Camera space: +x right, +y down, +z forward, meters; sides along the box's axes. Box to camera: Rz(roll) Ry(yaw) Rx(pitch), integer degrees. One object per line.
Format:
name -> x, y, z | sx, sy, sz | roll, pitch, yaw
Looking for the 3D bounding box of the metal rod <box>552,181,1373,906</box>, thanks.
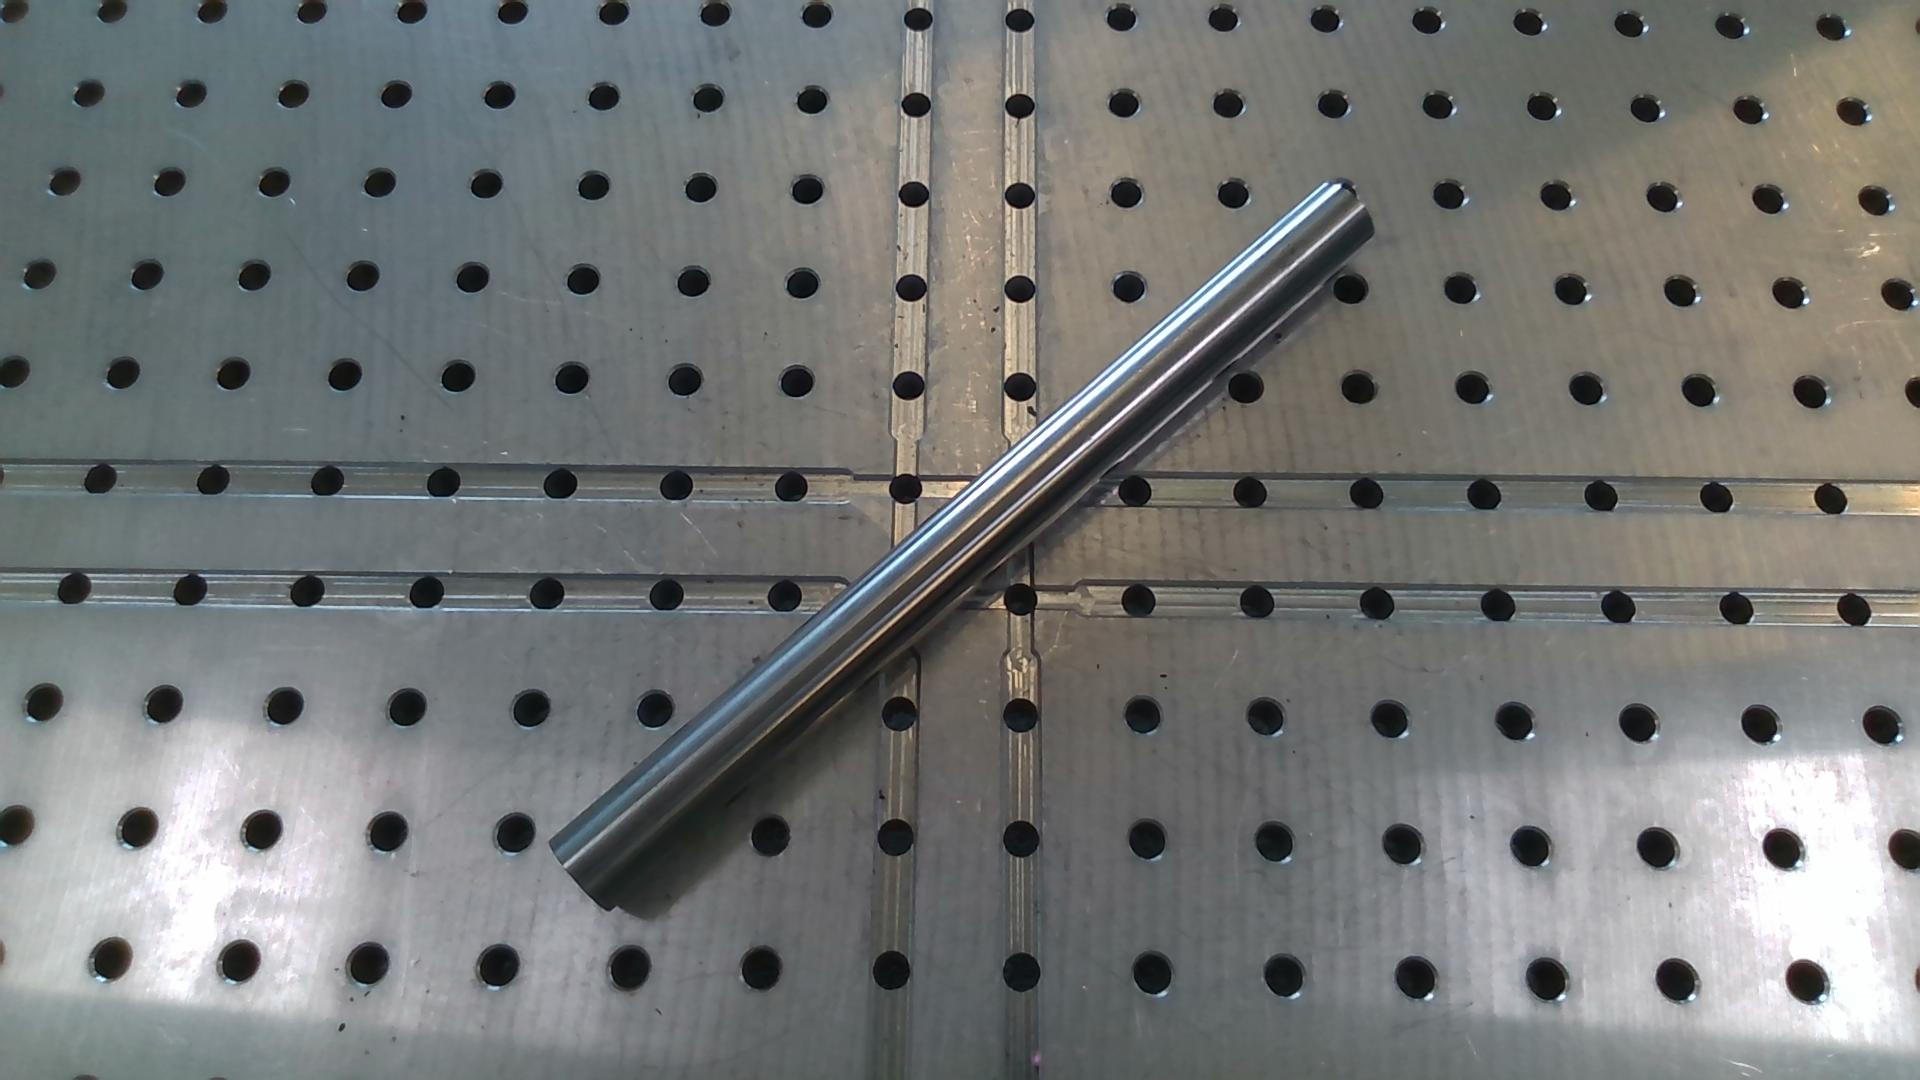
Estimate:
metal rod -> 0.010, -0.007, 0.401 | 0.300, 0.025, 0.025 | -41, 75, -13
